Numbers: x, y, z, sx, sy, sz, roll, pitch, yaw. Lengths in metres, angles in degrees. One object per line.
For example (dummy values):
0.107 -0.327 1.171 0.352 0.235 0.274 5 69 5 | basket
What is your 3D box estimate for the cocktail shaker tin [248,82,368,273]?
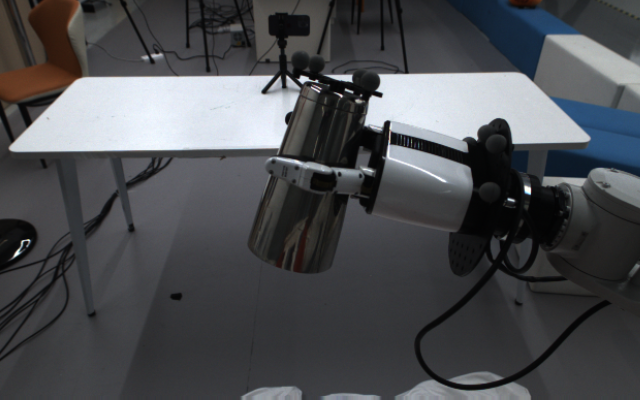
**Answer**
-0.007 -0.024 0.481 0.093 0.170 0.093 15 17 -5 | cocktail shaker tin
